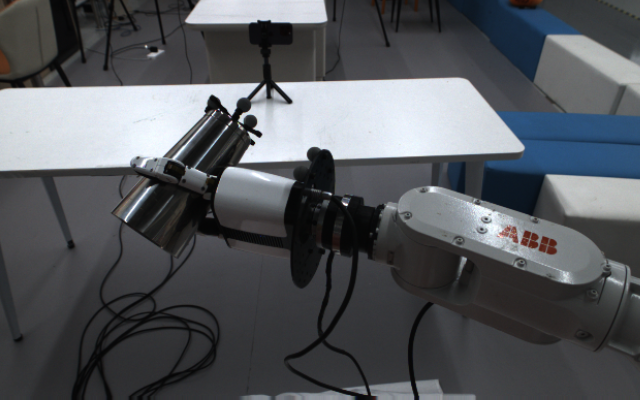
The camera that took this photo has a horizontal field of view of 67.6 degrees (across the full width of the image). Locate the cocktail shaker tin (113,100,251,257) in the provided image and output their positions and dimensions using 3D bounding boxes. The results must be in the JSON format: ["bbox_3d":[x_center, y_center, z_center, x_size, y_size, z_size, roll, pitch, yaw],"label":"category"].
[{"bbox_3d":[-0.160,-0.030,0.586,0.093,0.093,0.170,24,70,28],"label":"cocktail shaker tin"}]
